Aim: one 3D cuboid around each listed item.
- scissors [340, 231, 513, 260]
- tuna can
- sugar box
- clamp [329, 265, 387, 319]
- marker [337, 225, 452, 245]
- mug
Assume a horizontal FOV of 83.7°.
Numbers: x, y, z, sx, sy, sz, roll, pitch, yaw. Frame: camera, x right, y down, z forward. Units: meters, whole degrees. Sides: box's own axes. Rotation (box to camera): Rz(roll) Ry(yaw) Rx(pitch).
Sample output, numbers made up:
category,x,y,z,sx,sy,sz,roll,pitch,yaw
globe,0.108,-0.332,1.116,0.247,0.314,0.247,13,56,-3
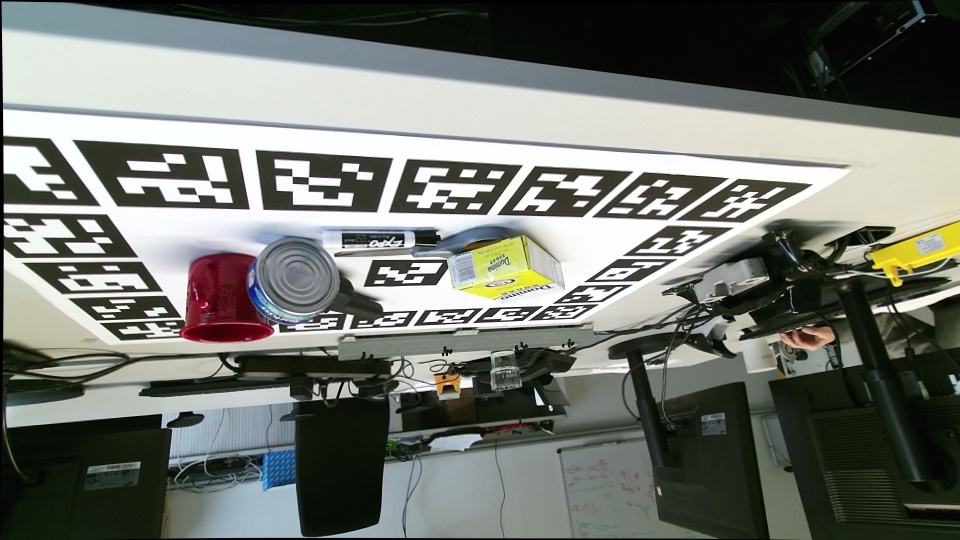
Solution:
category,x,y,z,sx,sy,sz,roll,pitch,yaw
scissors,-0.058,-0.020,0.621,0.203,0.016,0.088,-3,162,-8
tuna can,-0.192,0.007,0.555,0.086,0.085,0.034,7,154,-35
sugar box,0.039,0.003,0.670,0.093,0.045,0.177,-14,164,15
clamp,-0.210,0.031,0.704,0.166,0.036,0.203,-4,157,-9
marker,-0.089,-0.038,0.570,0.121,0.019,0.019,-2,157,-16
mug,-0.265,0.023,0.584,0.093,0.081,0.117,-11,162,7
